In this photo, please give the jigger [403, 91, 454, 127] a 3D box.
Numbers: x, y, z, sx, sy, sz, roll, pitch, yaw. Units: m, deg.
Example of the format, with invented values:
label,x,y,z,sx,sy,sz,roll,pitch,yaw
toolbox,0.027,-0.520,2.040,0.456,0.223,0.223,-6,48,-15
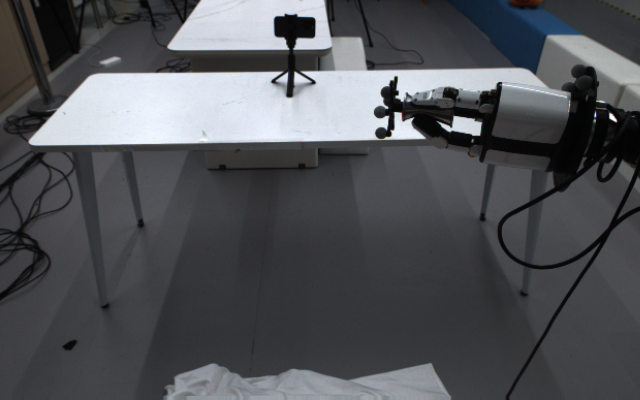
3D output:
label,x,y,z,sx,sy,sz,roll,pitch,yaw
jigger,0.157,-0.130,0.666,0.071,0.043,0.043,8,35,16
